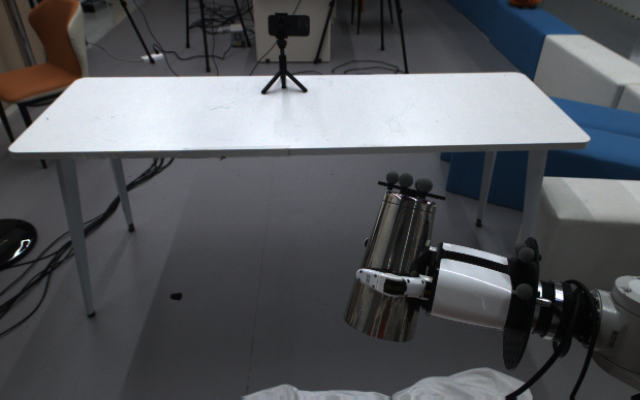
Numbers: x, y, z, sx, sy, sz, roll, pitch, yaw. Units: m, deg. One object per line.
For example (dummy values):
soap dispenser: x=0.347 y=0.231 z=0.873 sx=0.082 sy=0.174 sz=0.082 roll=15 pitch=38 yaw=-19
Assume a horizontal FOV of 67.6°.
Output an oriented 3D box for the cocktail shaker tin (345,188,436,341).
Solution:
cocktail shaker tin: x=0.095 y=0.079 z=0.612 sx=0.093 sy=0.170 sz=0.093 roll=13 pitch=5 yaw=-1
